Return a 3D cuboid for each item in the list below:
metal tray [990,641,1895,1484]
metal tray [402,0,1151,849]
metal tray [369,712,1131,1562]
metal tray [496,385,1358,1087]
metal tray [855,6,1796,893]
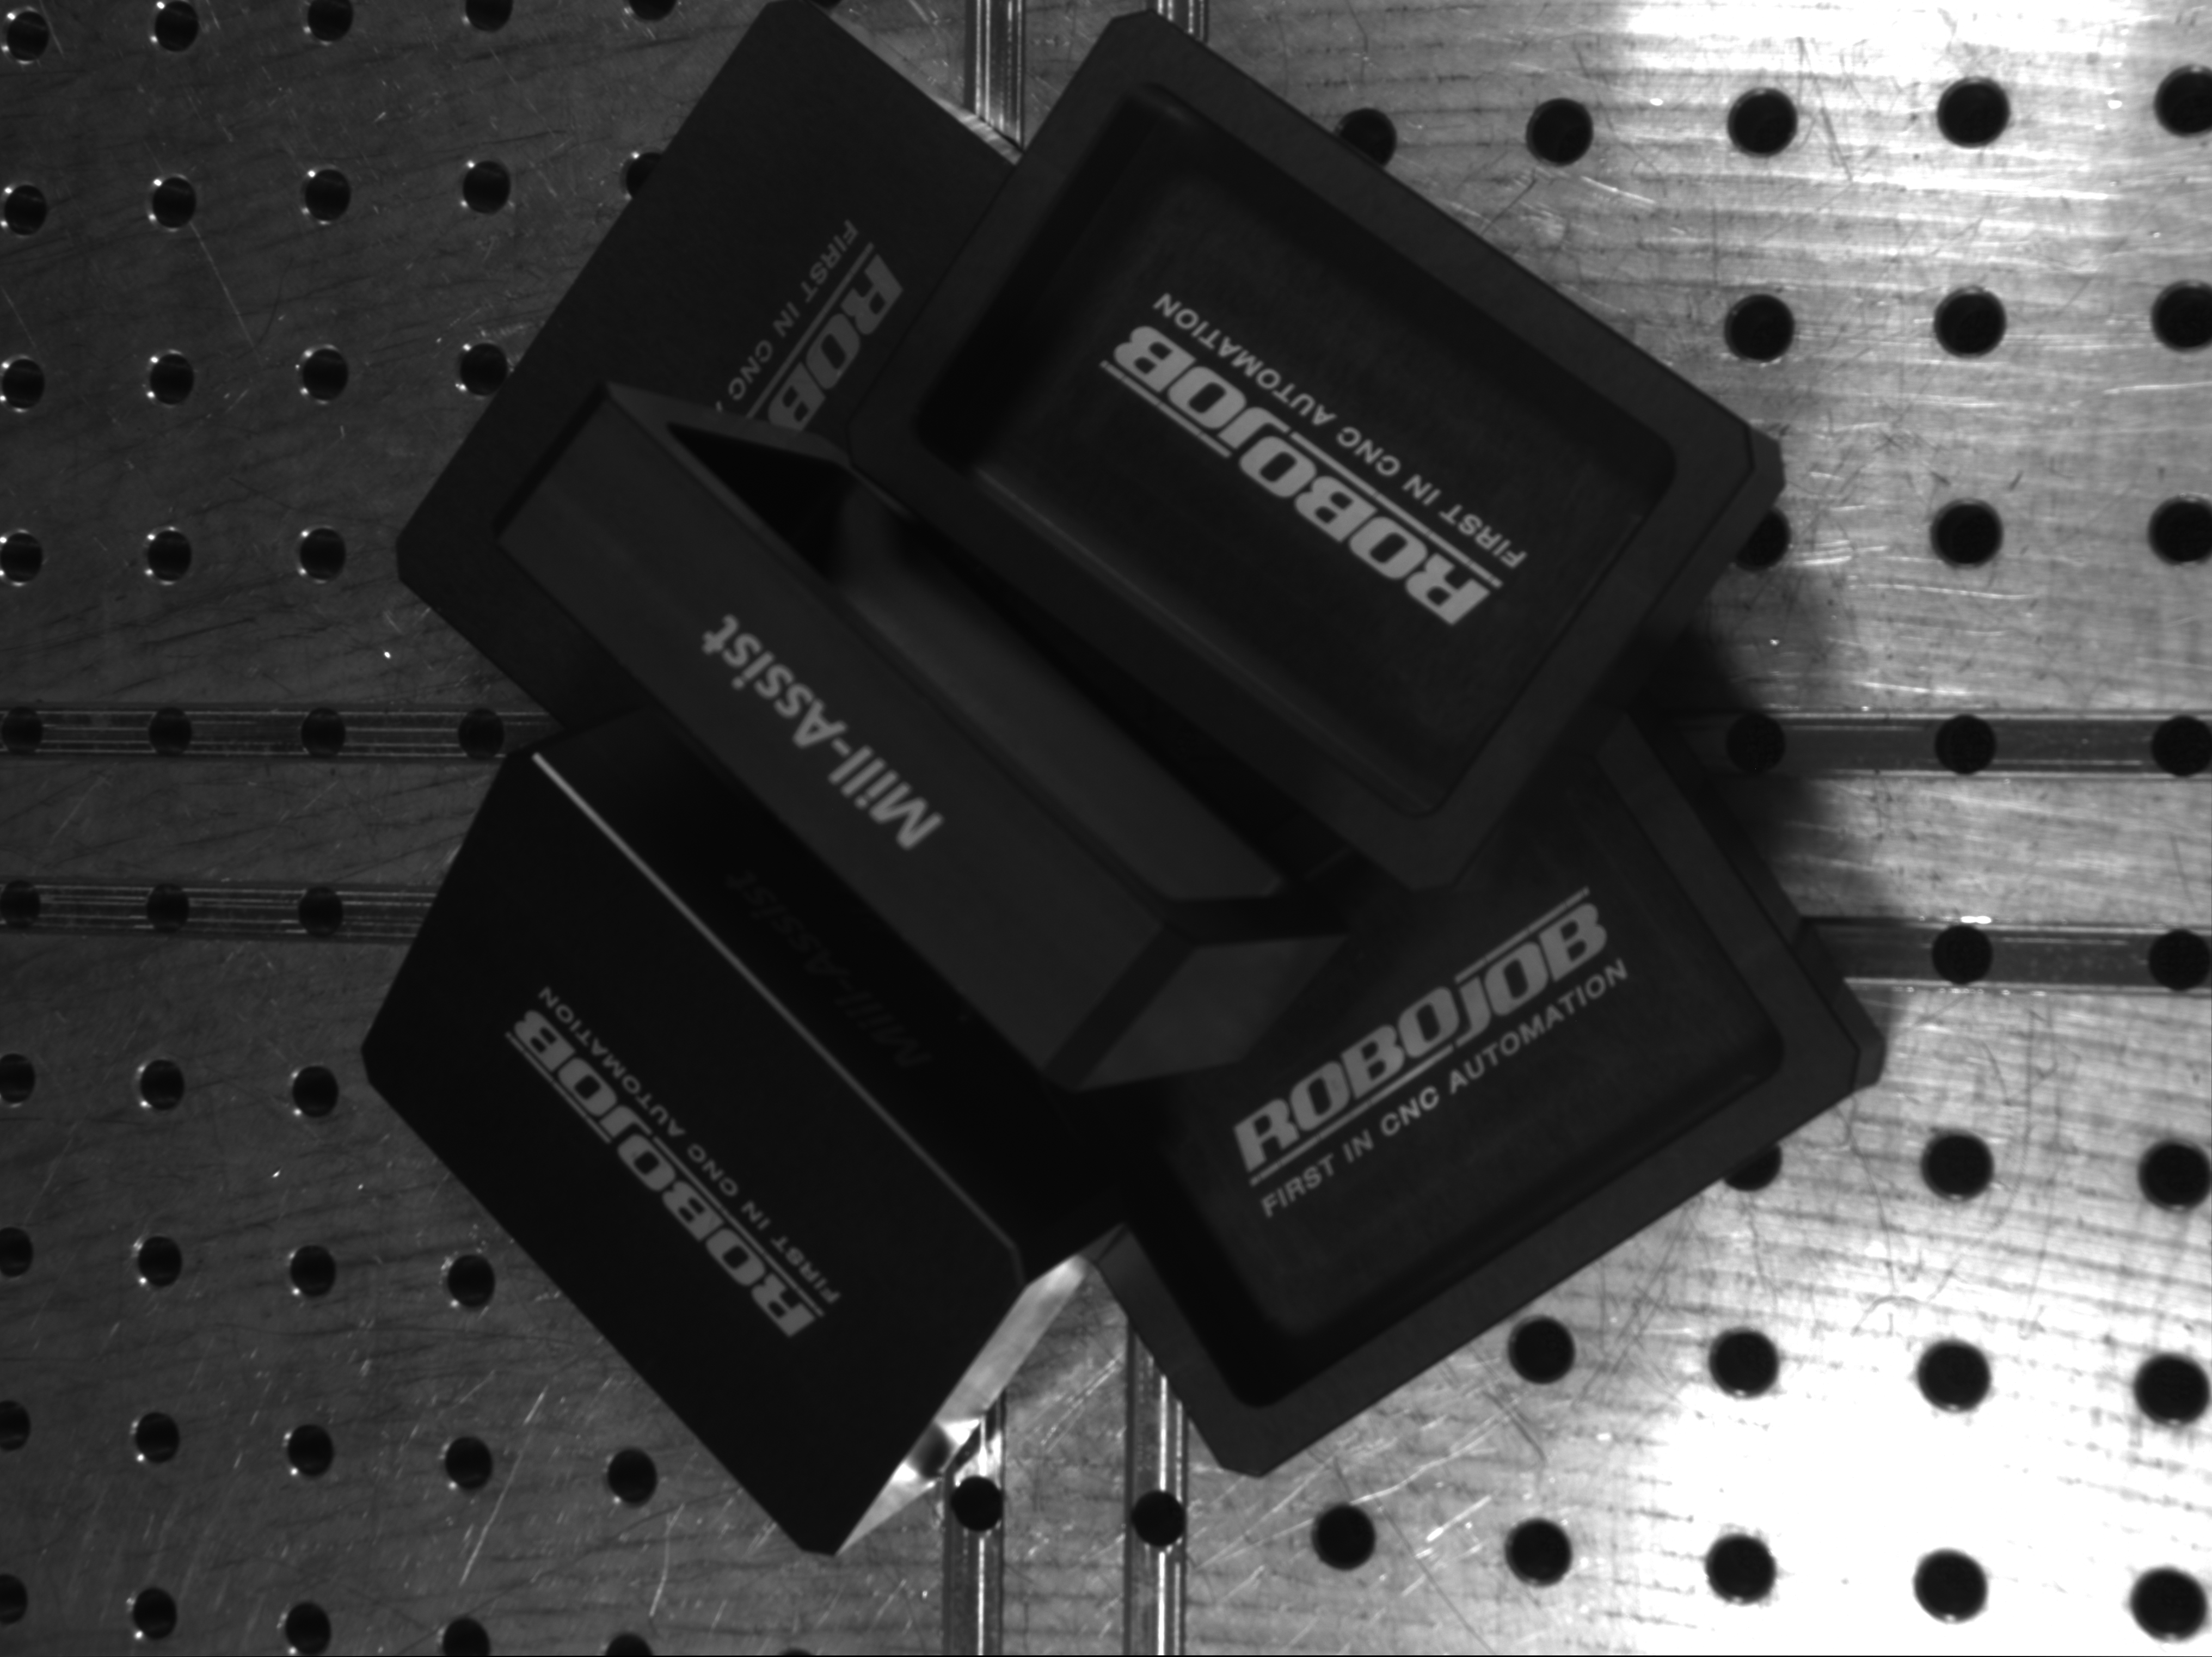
[{"bbox_3d":[0.055,0.040,0.623,0.130,0.030,0.090,-35,79,16],"label":"metal tray"},{"bbox_3d":[-0.057,-0.071,0.664,0.090,0.030,0.130,40,102,15],"label":"metal tray"},{"bbox_3d":[-0.066,0.054,0.648,0.130,0.030,0.090,44,129,14],"label":"metal tray"},{"bbox_3d":[-0.027,-0.015,0.589,0.130,0.090,0.030,43,103,15],"label":"metal tray"},{"bbox_3d":[0.034,-0.062,0.600,0.130,0.030,0.090,38,102,16],"label":"metal tray"}]
